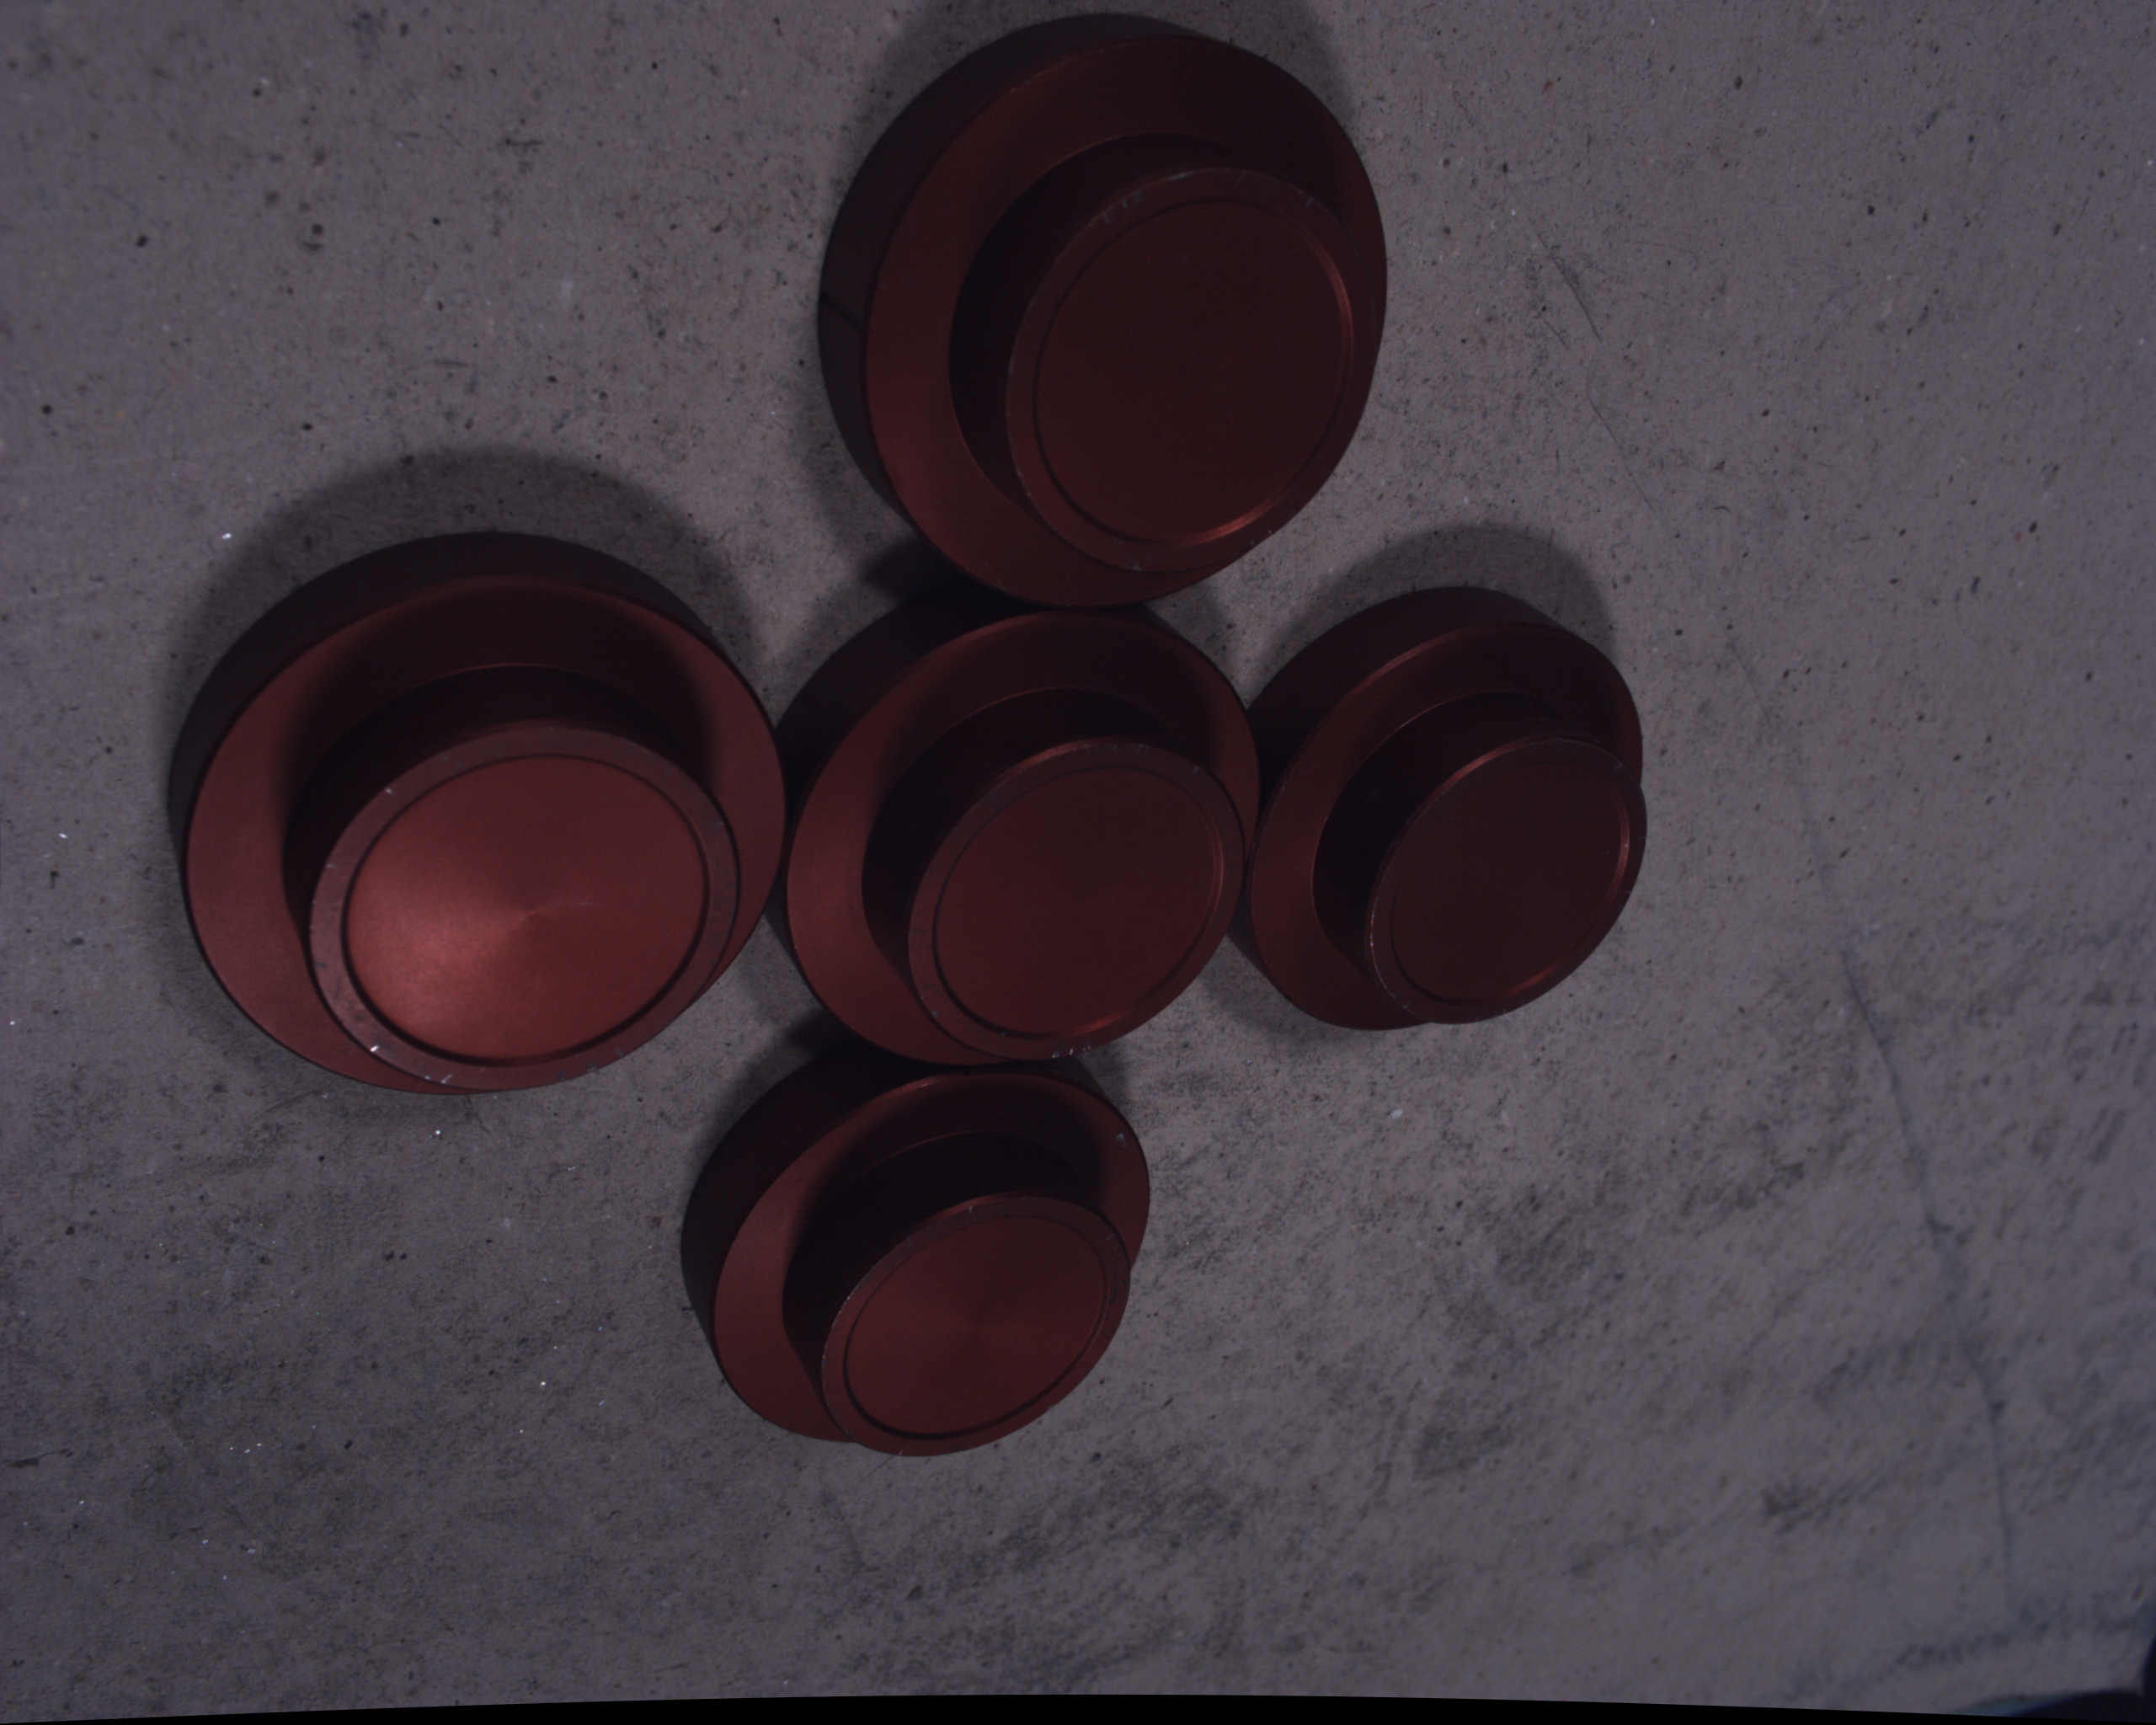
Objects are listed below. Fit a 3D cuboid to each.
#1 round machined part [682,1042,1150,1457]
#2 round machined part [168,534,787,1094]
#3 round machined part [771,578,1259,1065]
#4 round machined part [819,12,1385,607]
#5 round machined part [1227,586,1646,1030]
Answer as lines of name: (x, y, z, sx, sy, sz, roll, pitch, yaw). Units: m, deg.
round machined part: (-0.029, 0.084, 0.435, 0.099, 0.042, 0.097, -14, 125, -21)
round machined part: (-0.095, -0.001, 0.345, 0.099, 0.042, 0.097, -14, 125, -21)
round machined part: (-0.009, -0.002, 0.393, 0.099, 0.042, 0.097, -14, 125, -21)
round machined part: (0.010, -0.088, 0.350, 0.099, 0.042, 0.097, -14, 125, -21)
round machined part: (0.079, -0.005, 0.439, 0.099, 0.042, 0.097, -14, 125, -21)
